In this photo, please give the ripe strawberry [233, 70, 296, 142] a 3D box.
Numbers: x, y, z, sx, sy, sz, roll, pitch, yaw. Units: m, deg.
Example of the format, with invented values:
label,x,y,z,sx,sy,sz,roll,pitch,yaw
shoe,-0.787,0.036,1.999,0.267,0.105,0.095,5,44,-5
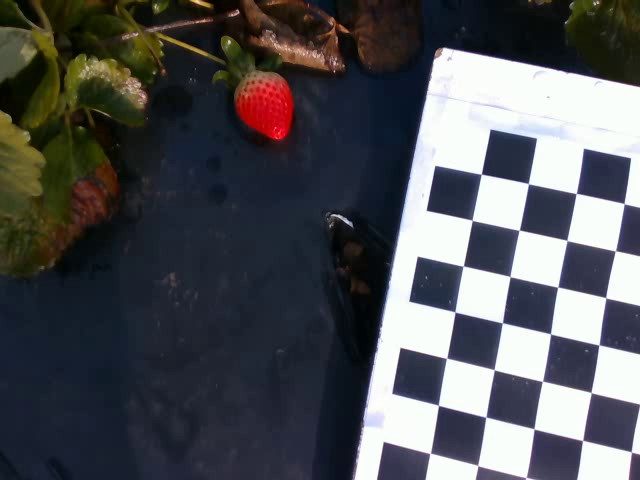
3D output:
label,x,y,z,sx,sy,sz,roll,pitch,yaw
ripe strawberry,-0.029,-0.072,0.347,0.035,0.043,0.030,-25,-10,-1
